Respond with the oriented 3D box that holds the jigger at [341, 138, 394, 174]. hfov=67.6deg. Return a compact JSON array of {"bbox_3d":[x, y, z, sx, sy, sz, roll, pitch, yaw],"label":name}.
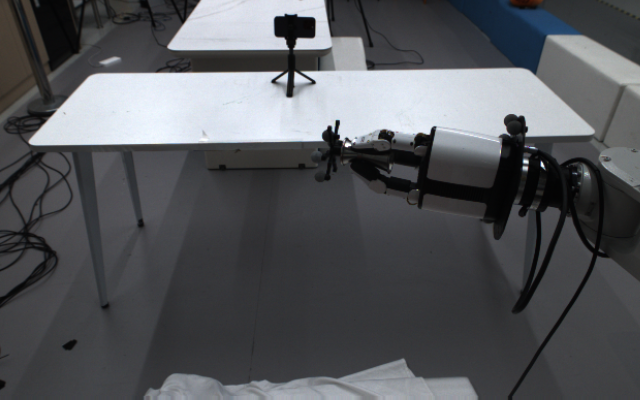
[{"bbox_3d":[0.072,-0.067,0.666,0.071,0.043,0.043,9,35,16],"label":"jigger"}]
